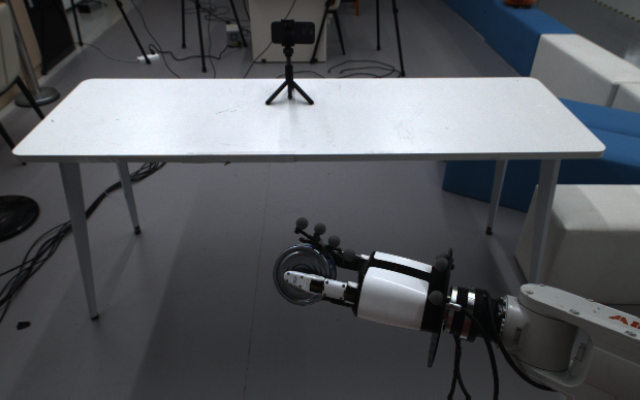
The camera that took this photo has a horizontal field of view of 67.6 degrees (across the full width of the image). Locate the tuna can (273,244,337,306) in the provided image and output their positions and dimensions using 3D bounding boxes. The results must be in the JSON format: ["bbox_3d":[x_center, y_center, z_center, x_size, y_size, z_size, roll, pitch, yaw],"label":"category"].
[{"bbox_3d":[-0.020,0.103,0.678,0.085,0.085,0.034,13,4,15],"label":"tuna can"}]
